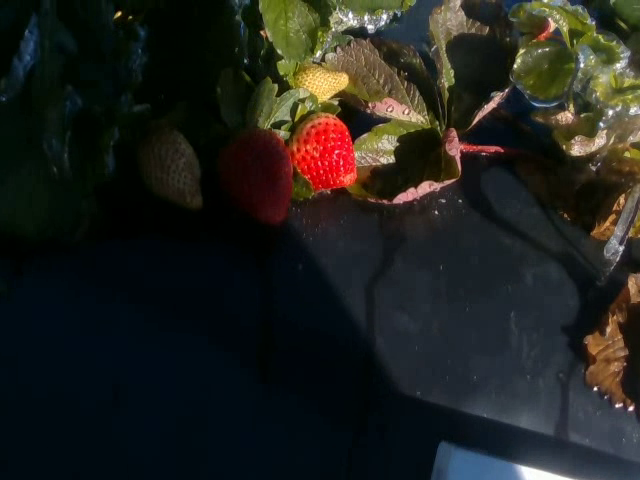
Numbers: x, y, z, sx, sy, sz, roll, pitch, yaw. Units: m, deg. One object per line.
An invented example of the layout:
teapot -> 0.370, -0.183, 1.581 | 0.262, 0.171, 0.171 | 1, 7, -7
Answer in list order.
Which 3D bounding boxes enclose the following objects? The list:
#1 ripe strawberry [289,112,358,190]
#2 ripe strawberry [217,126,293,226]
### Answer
ripe strawberry -> 0.004, -0.039, 0.276 | 0.041, 0.036, 0.030 | 41, -11, 7
ripe strawberry -> -0.023, -0.021, 0.252 | 0.036, 0.040, 0.052 | -23, 46, -10
